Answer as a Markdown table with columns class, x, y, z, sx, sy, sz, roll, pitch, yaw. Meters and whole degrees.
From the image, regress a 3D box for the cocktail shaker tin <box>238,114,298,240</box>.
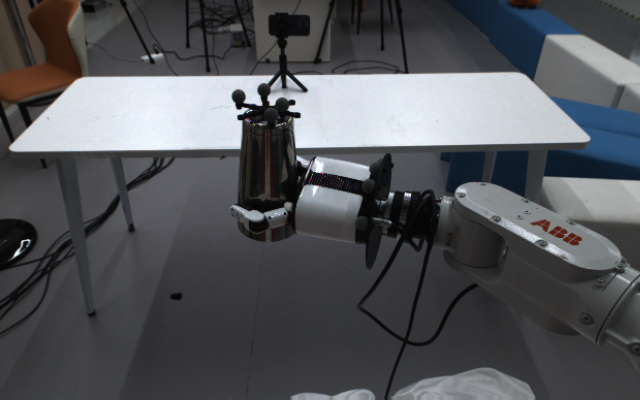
| class | x | y | z | sx | sy | sz | roll | pitch | yaw |
| --- | --- | --- | --- | --- | --- | --- | --- | --- | --- |
| cocktail shaker tin | -0.071 | -0.038 | 0.664 | 0.093 | 0.170 | 0.093 | 3 | 34 | -2 |
